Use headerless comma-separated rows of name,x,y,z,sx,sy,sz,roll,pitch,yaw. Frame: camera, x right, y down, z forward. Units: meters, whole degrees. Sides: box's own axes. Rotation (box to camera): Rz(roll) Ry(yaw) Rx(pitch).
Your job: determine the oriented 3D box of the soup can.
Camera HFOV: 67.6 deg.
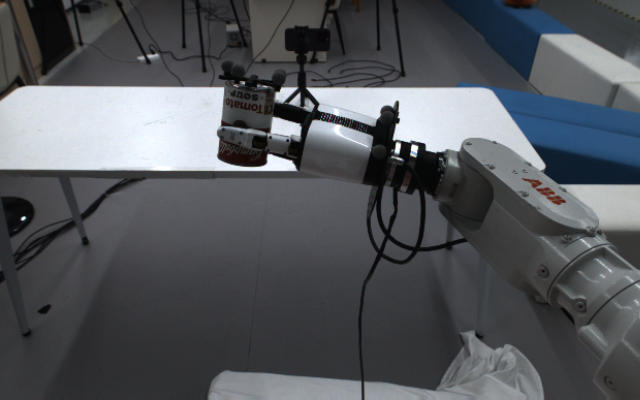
soup can,-0.097,-0.101,0.641,0.067,0.101,0.067,9,20,-3
